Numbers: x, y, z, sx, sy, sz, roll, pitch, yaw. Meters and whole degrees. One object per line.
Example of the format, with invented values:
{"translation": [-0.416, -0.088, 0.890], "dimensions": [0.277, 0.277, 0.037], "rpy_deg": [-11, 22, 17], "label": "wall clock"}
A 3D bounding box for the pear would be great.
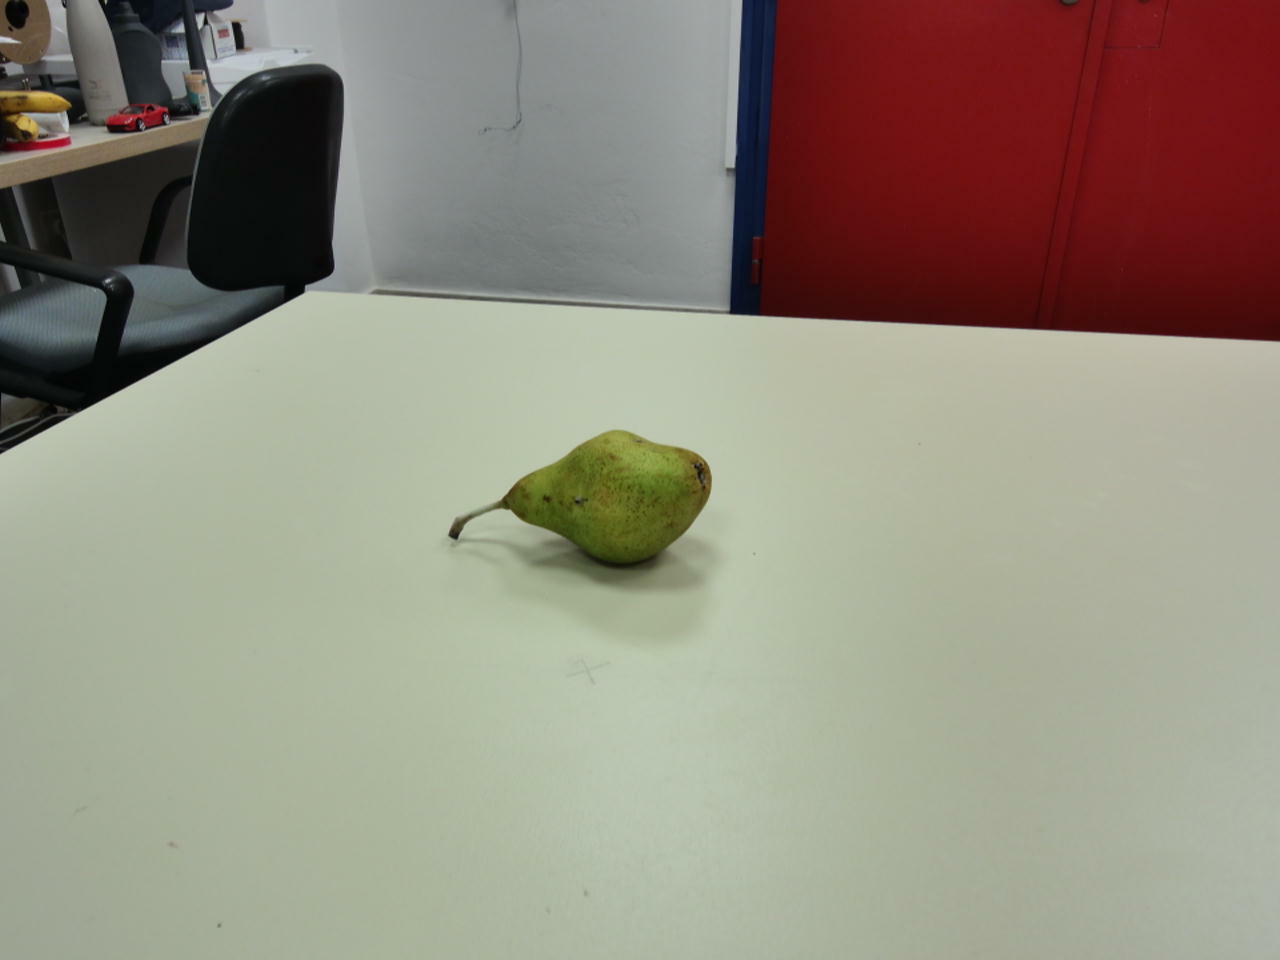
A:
{"translation": [-0.024, 0.004, 0.432], "dimensions": [0.111, 0.056, 0.056], "rpy_deg": [12, 27, 26], "label": "pear"}
